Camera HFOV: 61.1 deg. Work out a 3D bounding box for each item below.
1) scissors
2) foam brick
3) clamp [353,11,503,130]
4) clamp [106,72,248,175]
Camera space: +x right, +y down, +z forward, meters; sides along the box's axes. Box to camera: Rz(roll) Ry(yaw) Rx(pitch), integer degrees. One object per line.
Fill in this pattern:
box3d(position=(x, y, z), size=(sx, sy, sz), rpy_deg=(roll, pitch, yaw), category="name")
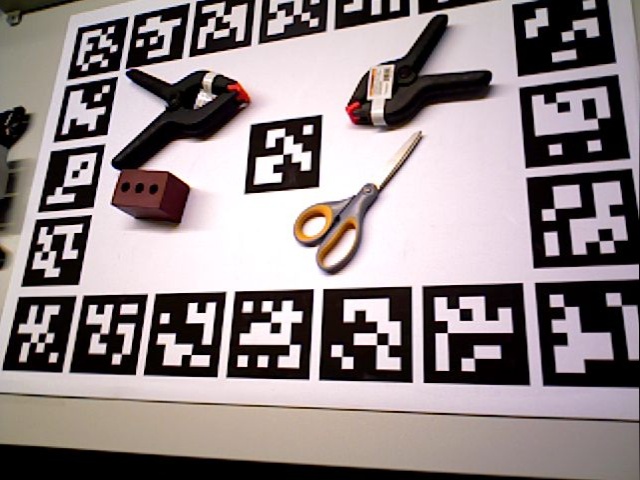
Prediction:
box3d(position=(0.047, -0.041, 0.626), size=(0.087, 0.016, 0.202), rpy_deg=(40, 88, 18), category="scissors")
box3d(position=(-0.223, -0.049, 0.712), size=(0.078, 0.051, 0.052), rpy_deg=(4, 76, 25), category="foam brick")
box3d(position=(0.113, -0.183, 0.643), size=(0.166, 0.036, 0.121), rpy_deg=(-30, 73, 10), category="clamp")
box3d(position=(-0.197, -0.178, 0.748), size=(0.204, 0.037, 0.164), rpy_deg=(-6, 69, 17), category="clamp")
